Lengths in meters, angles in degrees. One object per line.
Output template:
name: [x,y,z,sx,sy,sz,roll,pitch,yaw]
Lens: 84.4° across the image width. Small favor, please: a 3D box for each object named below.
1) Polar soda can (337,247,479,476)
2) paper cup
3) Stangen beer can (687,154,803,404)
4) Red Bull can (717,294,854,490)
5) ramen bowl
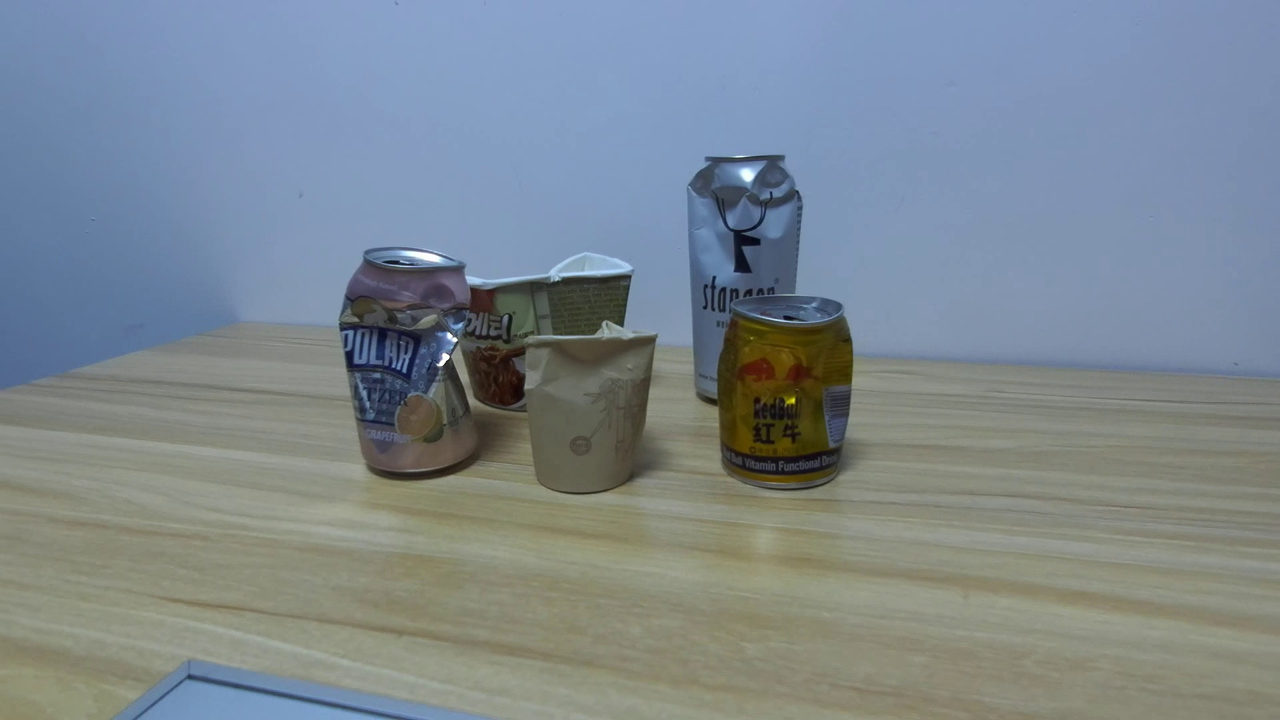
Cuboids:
Polar soda can: [-0.122,0.001,0.398,0.070,0.121,0.067,9,14,27]
paper cup: [-0.030,0.022,0.381,0.066,0.083,0.058,-3,15,-14]
Stangen beer can: [0.071,-0.052,0.482,0.066,0.166,0.065,-11,17,-36]
Red Bull can: [0.076,0.015,0.380,0.072,0.092,0.072,0,18,0]
ramen bowl: [-0.076,-0.023,0.514,0.129,0.093,0.111,-9,19,-24]
